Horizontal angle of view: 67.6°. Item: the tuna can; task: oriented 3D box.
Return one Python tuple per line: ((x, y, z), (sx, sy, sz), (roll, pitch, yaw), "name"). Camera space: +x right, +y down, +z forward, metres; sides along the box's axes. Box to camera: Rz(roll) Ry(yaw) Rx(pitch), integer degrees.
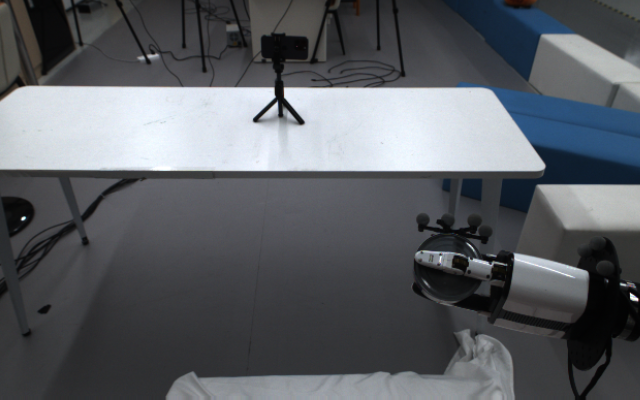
((0.162, 0.083, 0.612), (0.085, 0.034, 0.085), (-2, 70, 6), "tuna can")
